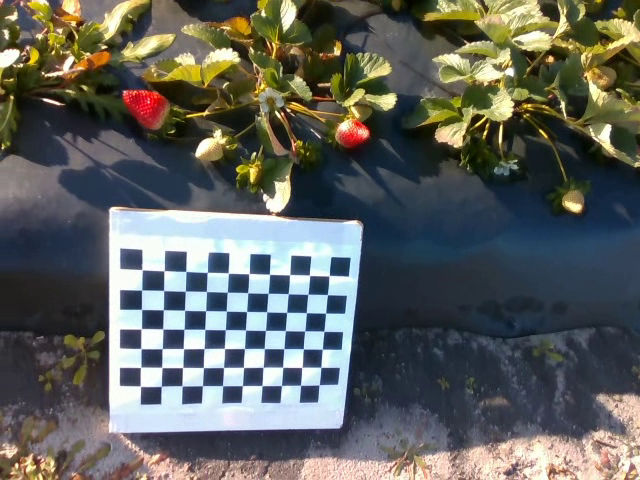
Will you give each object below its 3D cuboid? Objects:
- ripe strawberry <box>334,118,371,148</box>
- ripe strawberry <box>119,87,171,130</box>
[{"bbox_3d":[0.037,-0.110,0.632,0.042,0.037,0.045,-25,20,-34],"label":"ripe strawberry"},{"bbox_3d":[-0.169,-0.131,0.597,0.054,0.043,0.036,29,8,-24],"label":"ripe strawberry"}]
